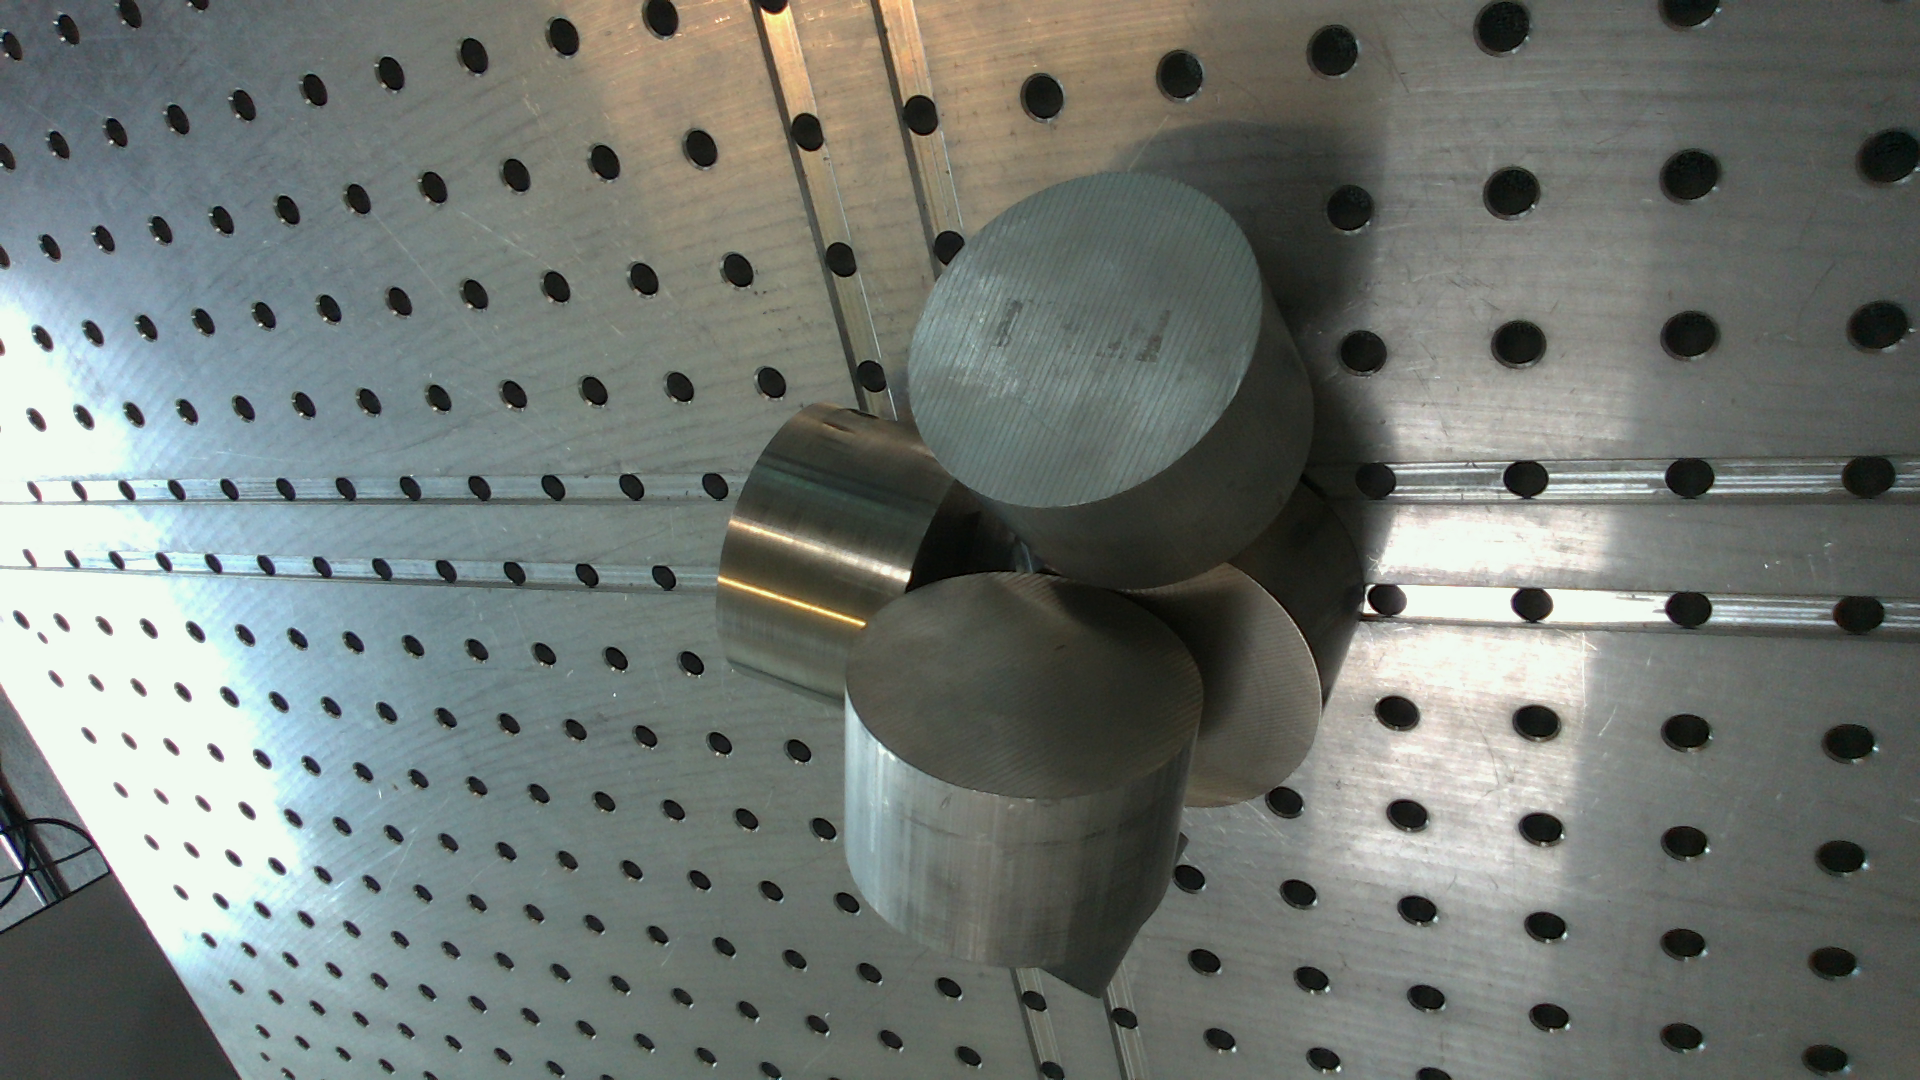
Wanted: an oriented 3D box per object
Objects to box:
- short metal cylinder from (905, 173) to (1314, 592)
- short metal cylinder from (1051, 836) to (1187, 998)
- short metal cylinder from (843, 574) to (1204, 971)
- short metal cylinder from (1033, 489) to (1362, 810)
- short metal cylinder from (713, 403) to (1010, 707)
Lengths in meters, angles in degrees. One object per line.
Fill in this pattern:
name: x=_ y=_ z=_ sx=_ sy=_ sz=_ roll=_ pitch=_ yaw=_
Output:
short metal cylinder: x=0.035 y=-0.034 z=0.311 sx=0.080 sy=0.080 sz=0.050 roll=2 pitch=159 yaw=27
short metal cylinder: x=0.018 y=0.087 z=0.397 sx=0.080 sy=0.050 sz=0.080 roll=31 pitch=171 yaw=6
short metal cylinder: x=0.013 y=0.051 z=0.319 sx=0.080 sy=0.080 sz=0.050 roll=16 pitch=125 yaw=19
short metal cylinder: x=0.060 y=0.023 z=0.361 sx=0.080 sy=0.050 sz=0.080 roll=13 pitch=123 yaw=22
short metal cylinder: x=-0.024 y=0.007 z=0.377 sx=0.050 sy=0.080 sz=0.080 roll=17 pitch=125 yaw=19
